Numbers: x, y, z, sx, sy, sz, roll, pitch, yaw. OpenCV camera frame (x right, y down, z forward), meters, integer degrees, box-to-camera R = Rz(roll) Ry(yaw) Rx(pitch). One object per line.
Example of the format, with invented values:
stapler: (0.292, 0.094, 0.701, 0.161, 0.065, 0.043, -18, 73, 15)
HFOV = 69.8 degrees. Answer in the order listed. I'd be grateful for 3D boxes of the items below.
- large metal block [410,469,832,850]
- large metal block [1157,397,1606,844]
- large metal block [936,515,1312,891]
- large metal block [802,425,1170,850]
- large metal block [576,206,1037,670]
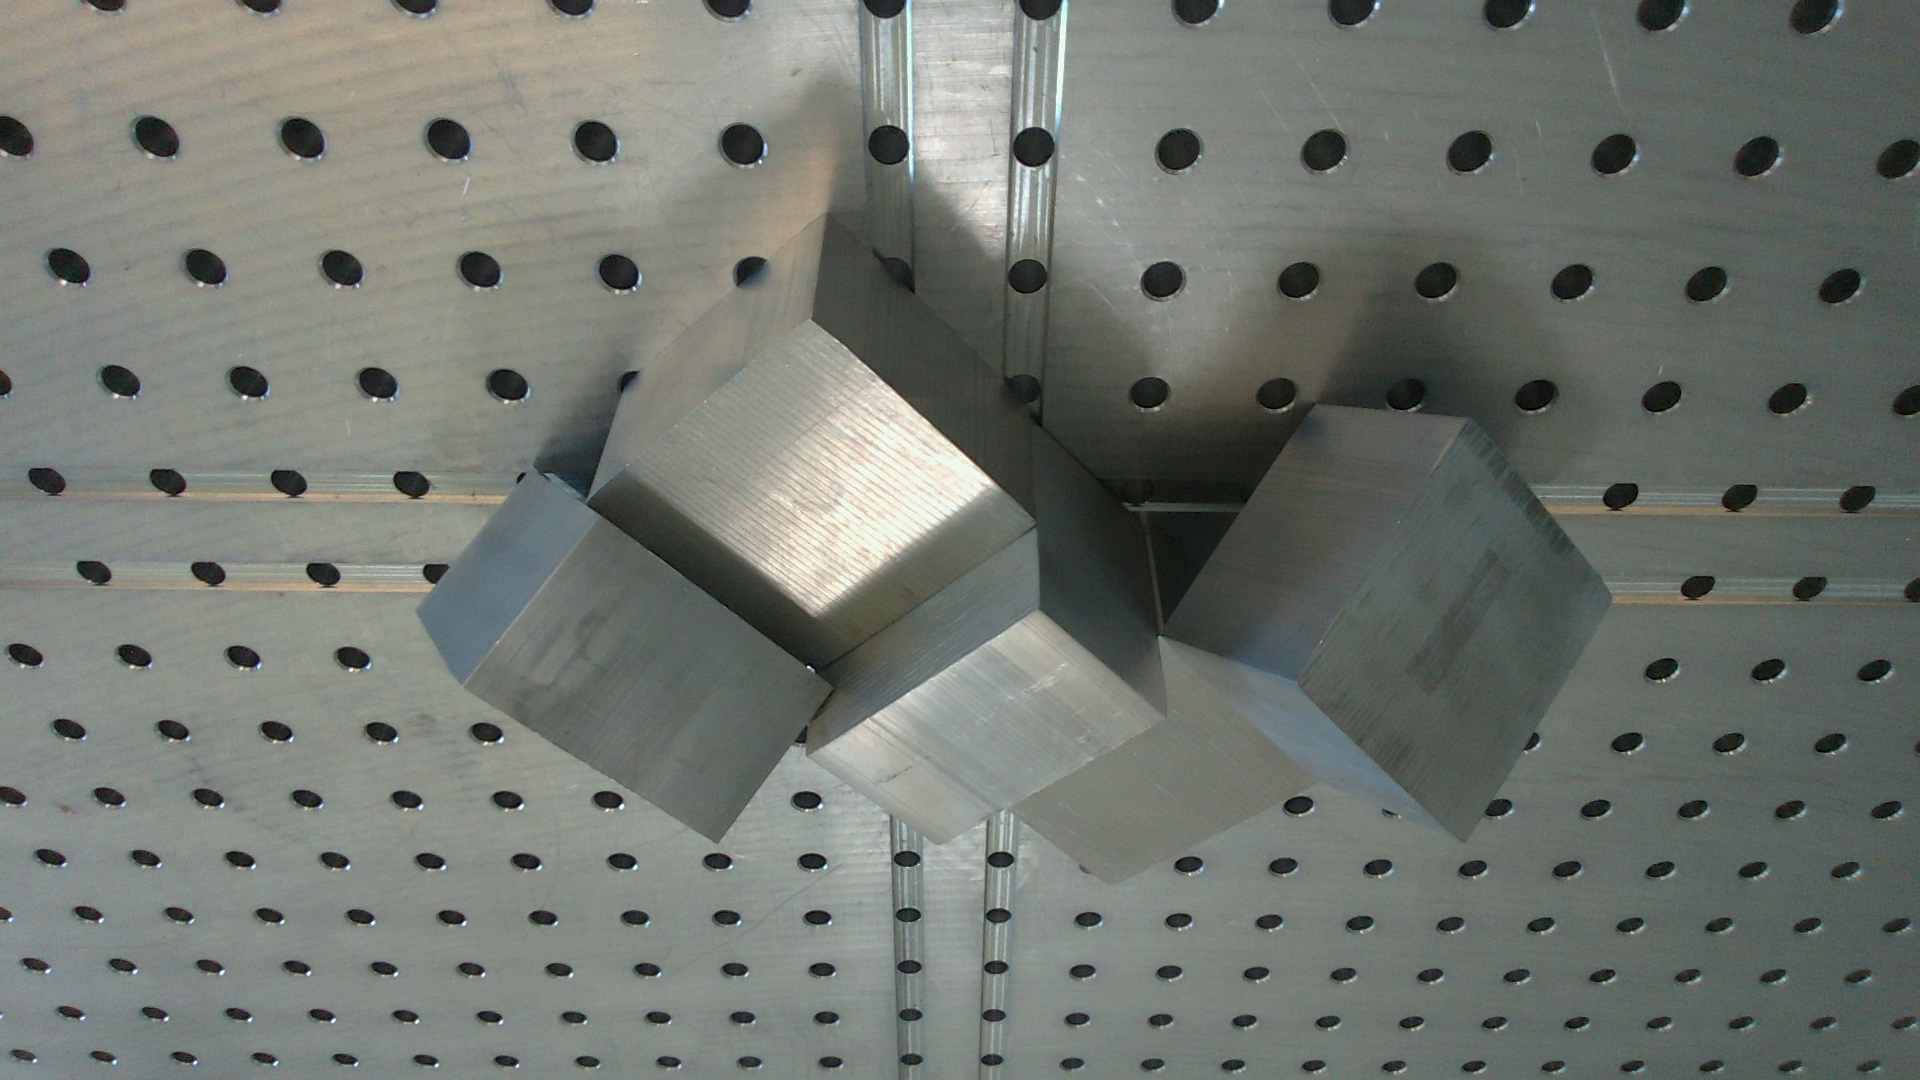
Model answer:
large metal block: (-0.093, 0.029, 0.372, 0.080, 0.080, 0.050, 41, 80, -29)
large metal block: (0.113, 0.020, 0.367, 0.080, 0.050, 0.080, 41, 79, -30)
large metal block: (0.050, 0.052, 0.421, 0.080, 0.050, 0.080, -34, 121, 25)
large metal block: (0.005, 0.024, 0.377, 0.080, 0.080, 0.050, -35, 123, 26)
large metal block: (-0.037, -0.023, 0.357, 0.080, 0.050, 0.080, -34, 123, 26)
